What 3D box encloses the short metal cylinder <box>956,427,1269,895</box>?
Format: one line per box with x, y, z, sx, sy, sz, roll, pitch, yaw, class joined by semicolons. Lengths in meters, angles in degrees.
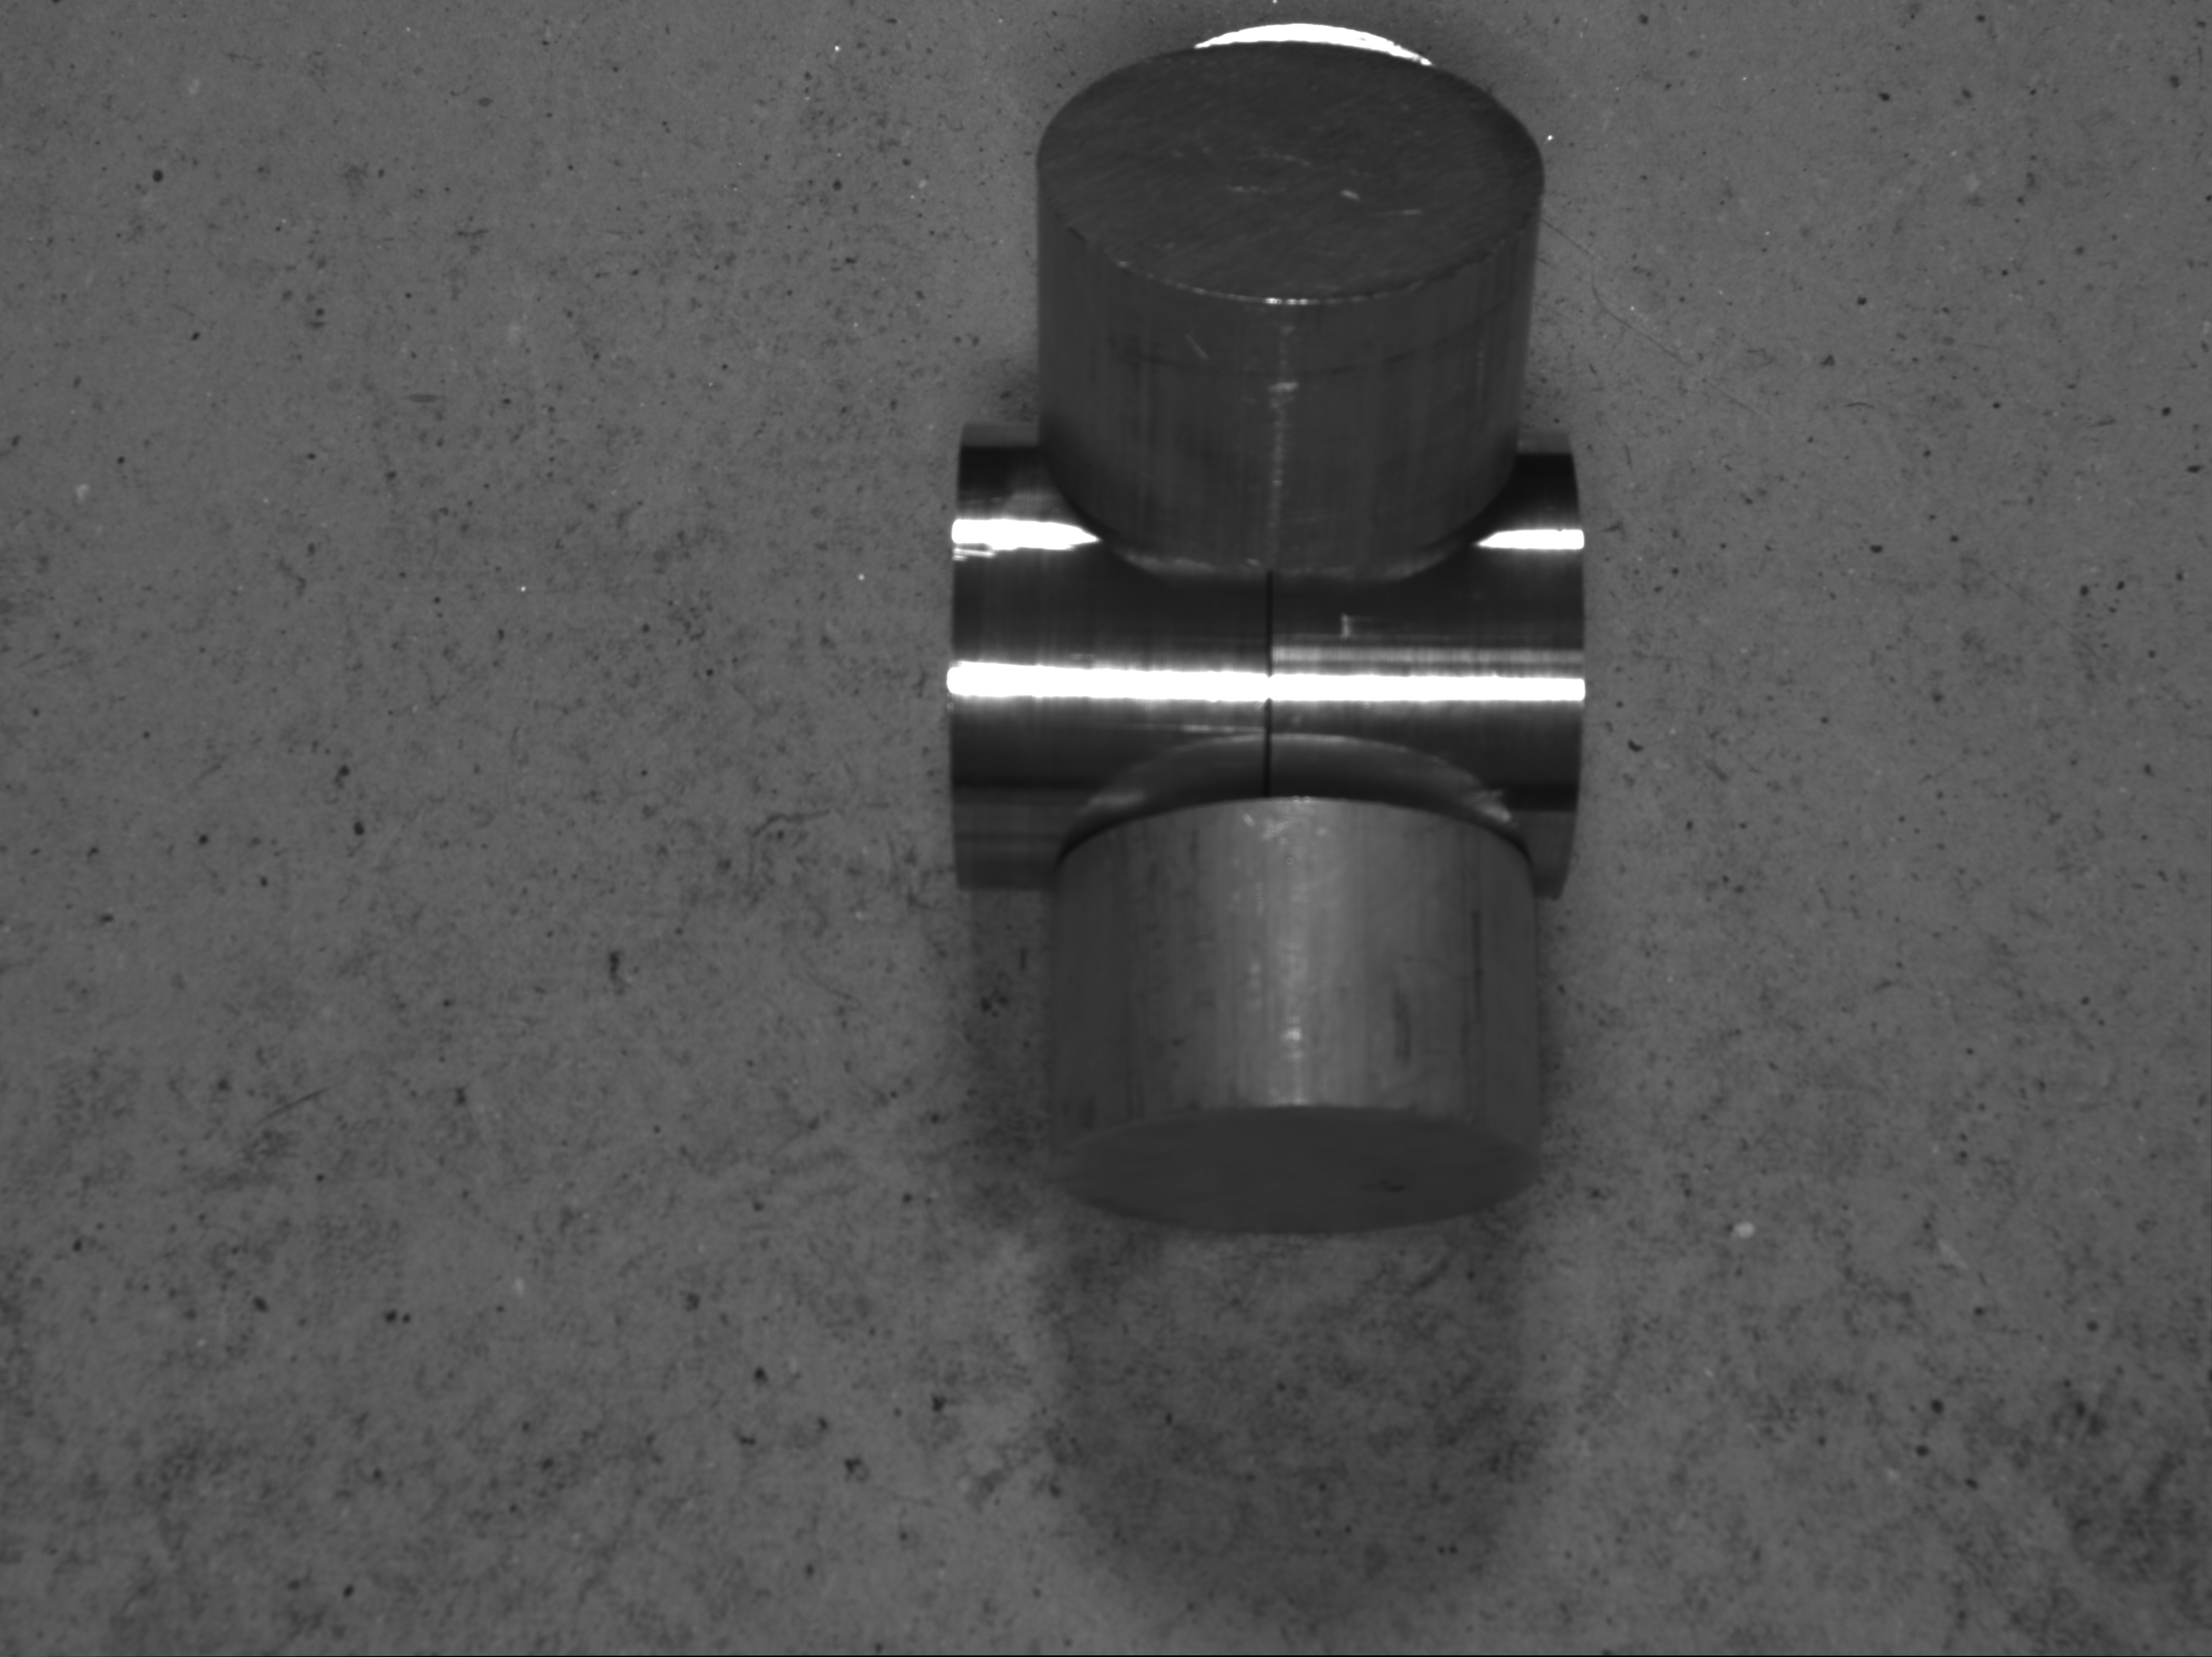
0.001;-0.029;0.627;0.050;0.080;0.080;1;70;0;short metal cylinder

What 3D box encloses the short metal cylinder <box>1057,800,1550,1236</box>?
0.032;0.033;0.604;0.080;0.080;0.050;0;69;0;short metal cylinder

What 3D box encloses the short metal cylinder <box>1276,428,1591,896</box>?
0.053;-0.028;0.626;0.050;0.080;0.080;0;70;1;short metal cylinder

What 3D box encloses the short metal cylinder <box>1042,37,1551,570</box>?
0.030;-0.086;0.593;0.080;0.050;0.080;0;41;0;short metal cylinder

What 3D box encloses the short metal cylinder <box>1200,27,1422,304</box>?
0.036;-0.098;0.669;0.080;0.050;0.080;0;70;0;short metal cylinder
